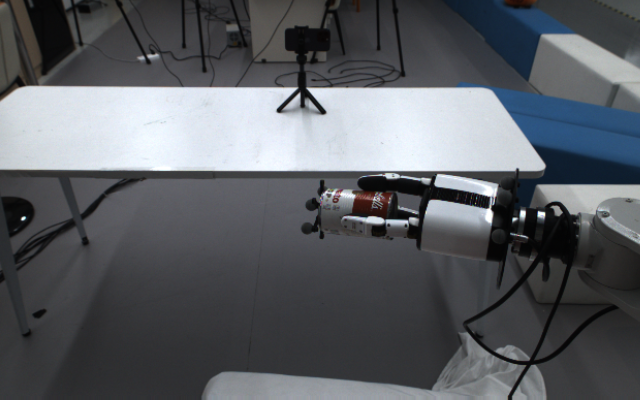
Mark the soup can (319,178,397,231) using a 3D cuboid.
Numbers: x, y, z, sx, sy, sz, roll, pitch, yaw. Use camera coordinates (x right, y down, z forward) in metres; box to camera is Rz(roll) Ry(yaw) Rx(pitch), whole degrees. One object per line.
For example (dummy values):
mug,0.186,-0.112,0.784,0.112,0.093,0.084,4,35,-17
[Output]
soup can,0.057,0.019,0.693,0.101,0.067,0.067,4,34,18
